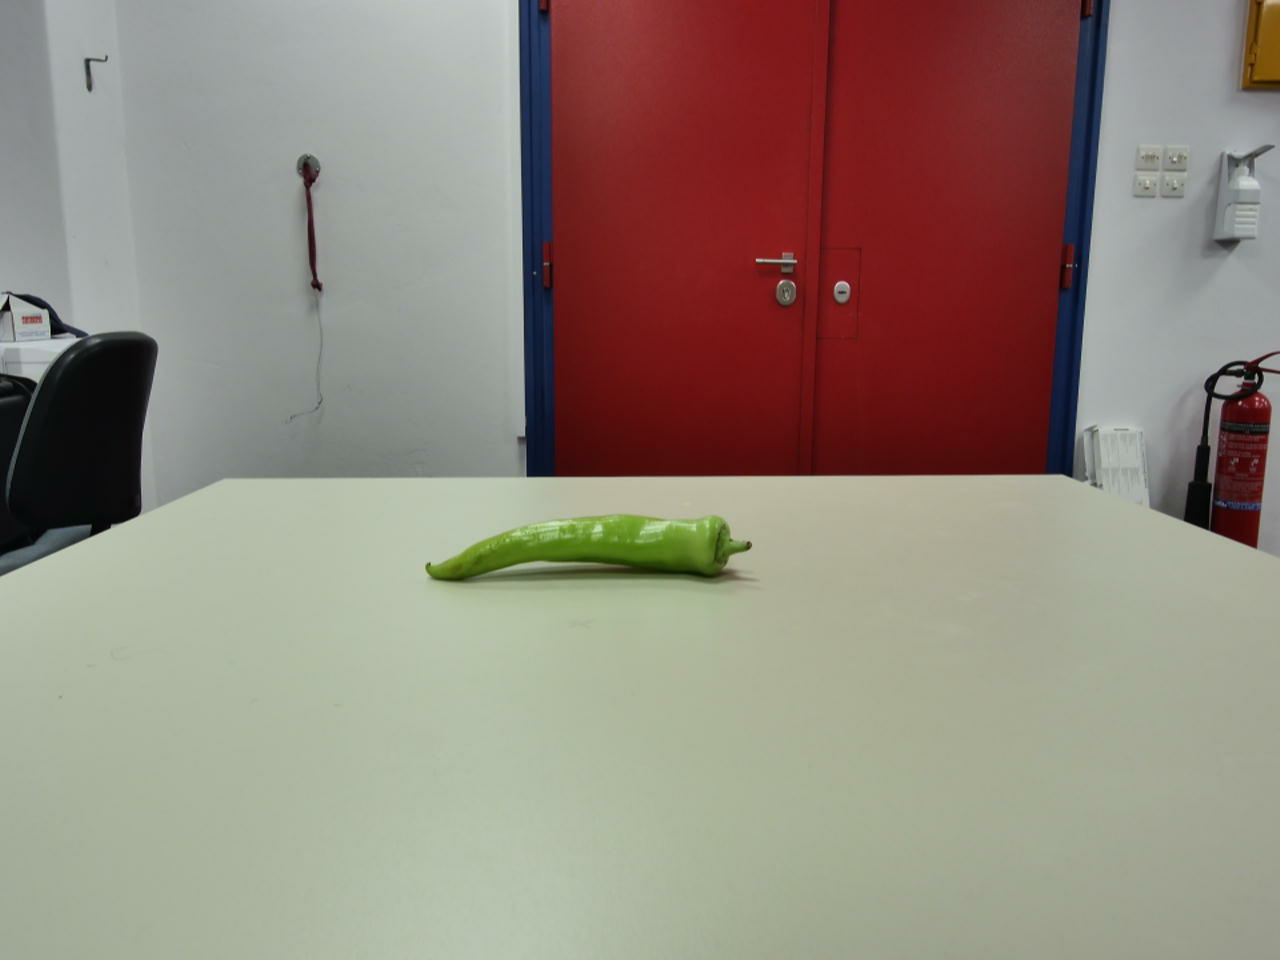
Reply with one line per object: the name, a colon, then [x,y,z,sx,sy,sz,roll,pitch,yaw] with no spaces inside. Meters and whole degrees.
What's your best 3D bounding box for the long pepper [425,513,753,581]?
long pepper: [-0.032,0.040,0.608,0.197,0.038,0.046,0,8,1]
